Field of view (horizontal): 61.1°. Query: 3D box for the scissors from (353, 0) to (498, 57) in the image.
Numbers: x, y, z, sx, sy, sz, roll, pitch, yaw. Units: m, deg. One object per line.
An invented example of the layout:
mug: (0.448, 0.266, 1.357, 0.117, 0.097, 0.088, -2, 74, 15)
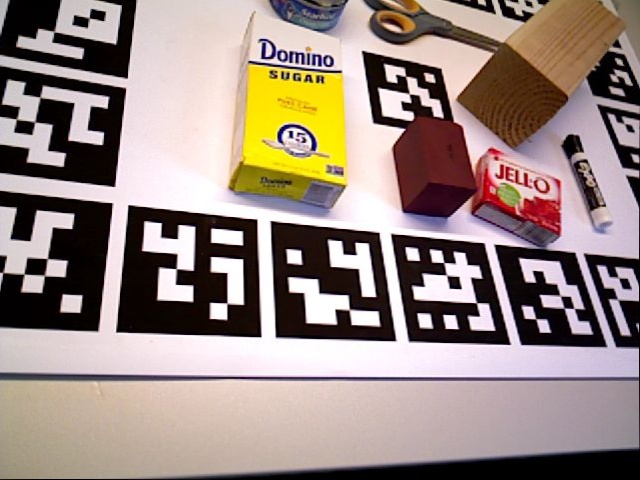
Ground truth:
scissors: (0.134, -0.246, 0.649, 0.201, 0.016, 0.086, 12, 62, -13)

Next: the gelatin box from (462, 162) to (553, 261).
gelatin box: (0.193, -0.030, 0.558, 0.089, 0.031, 0.072, 23, 60, -9)

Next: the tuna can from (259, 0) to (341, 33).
tuna can: (-0.022, -0.262, 0.581, 0.085, 0.034, 0.085, 8, 63, -18)

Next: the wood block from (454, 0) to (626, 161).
wood block: (0.259, -0.192, 0.630, 0.090, 0.093, 0.201, 44, 57, 4)

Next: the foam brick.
foam brick: (0.101, -0.056, 0.517, 0.052, 0.052, 0.077, 7, 64, -18)

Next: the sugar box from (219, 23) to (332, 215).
sugar box: (-0.037, -0.114, 0.501, 0.092, 0.046, 0.174, 10, 62, -18)

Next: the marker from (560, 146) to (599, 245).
marker: (0.291, -0.053, 0.612, 0.019, 0.020, 0.120, 7, 65, -18)
